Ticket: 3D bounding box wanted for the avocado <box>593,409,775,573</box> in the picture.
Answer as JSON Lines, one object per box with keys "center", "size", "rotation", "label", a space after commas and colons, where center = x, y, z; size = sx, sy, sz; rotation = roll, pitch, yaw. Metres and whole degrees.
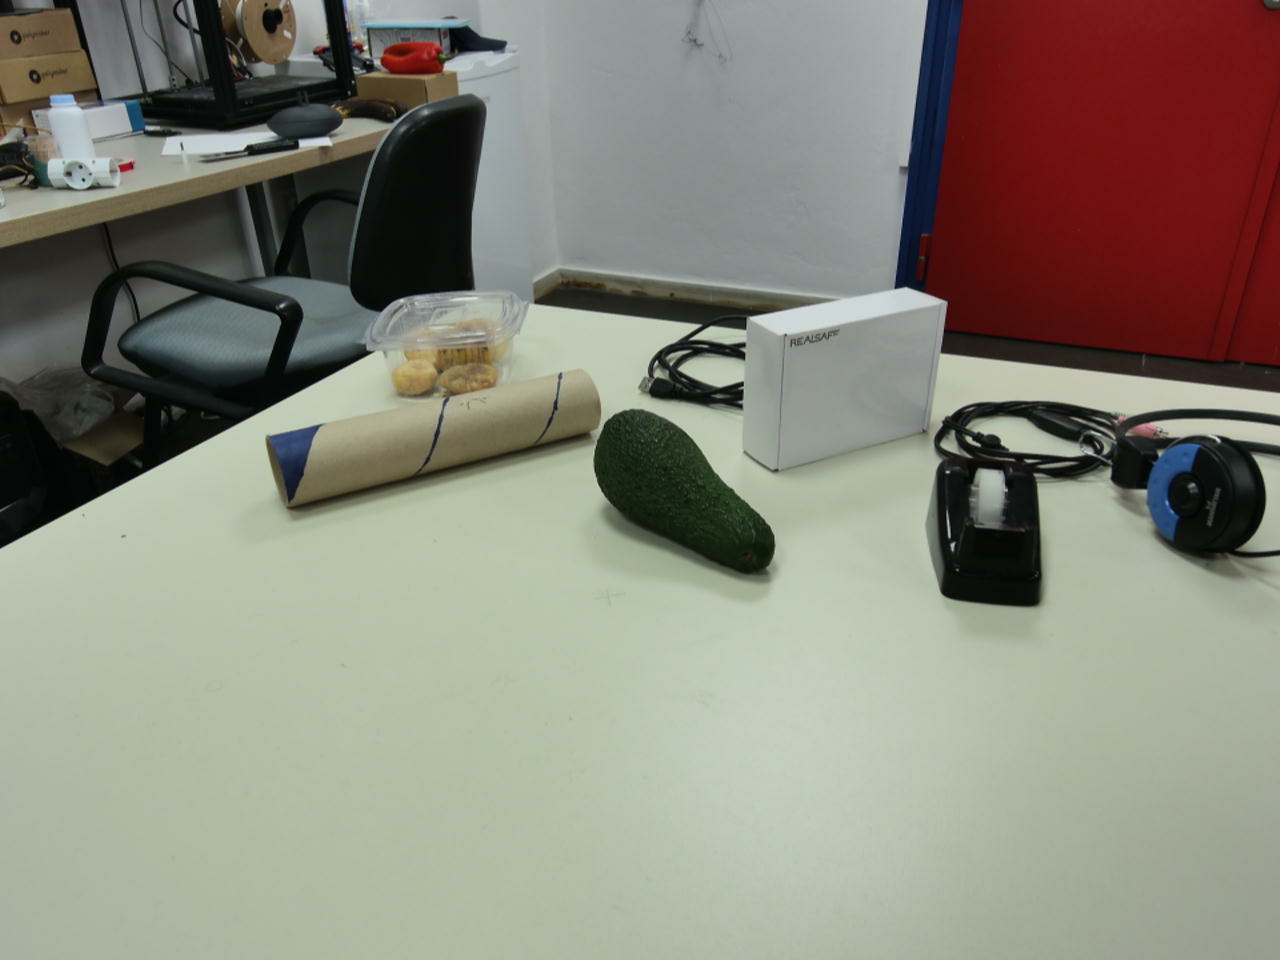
{"center": [0.029, 0.001, 0.585], "size": [0.141, 0.067, 0.063], "rotation": [20, 32, 35], "label": "avocado"}
